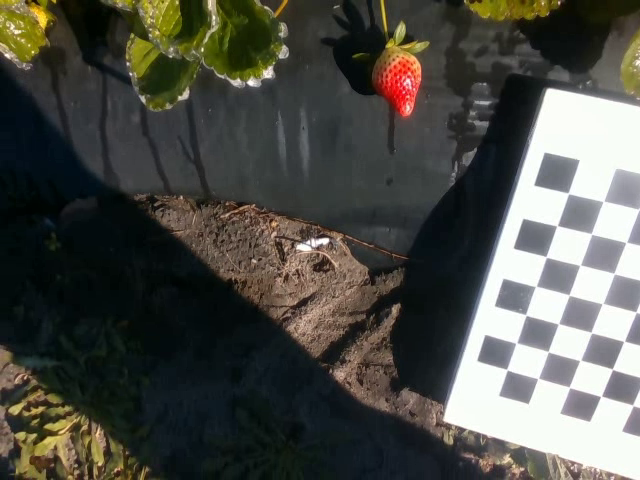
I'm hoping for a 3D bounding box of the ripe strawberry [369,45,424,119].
[{"bbox_3d":[0.056,-0.108,0.405,0.039,0.053,0.040,-7,-2,15],"label":"ripe strawberry"}]
